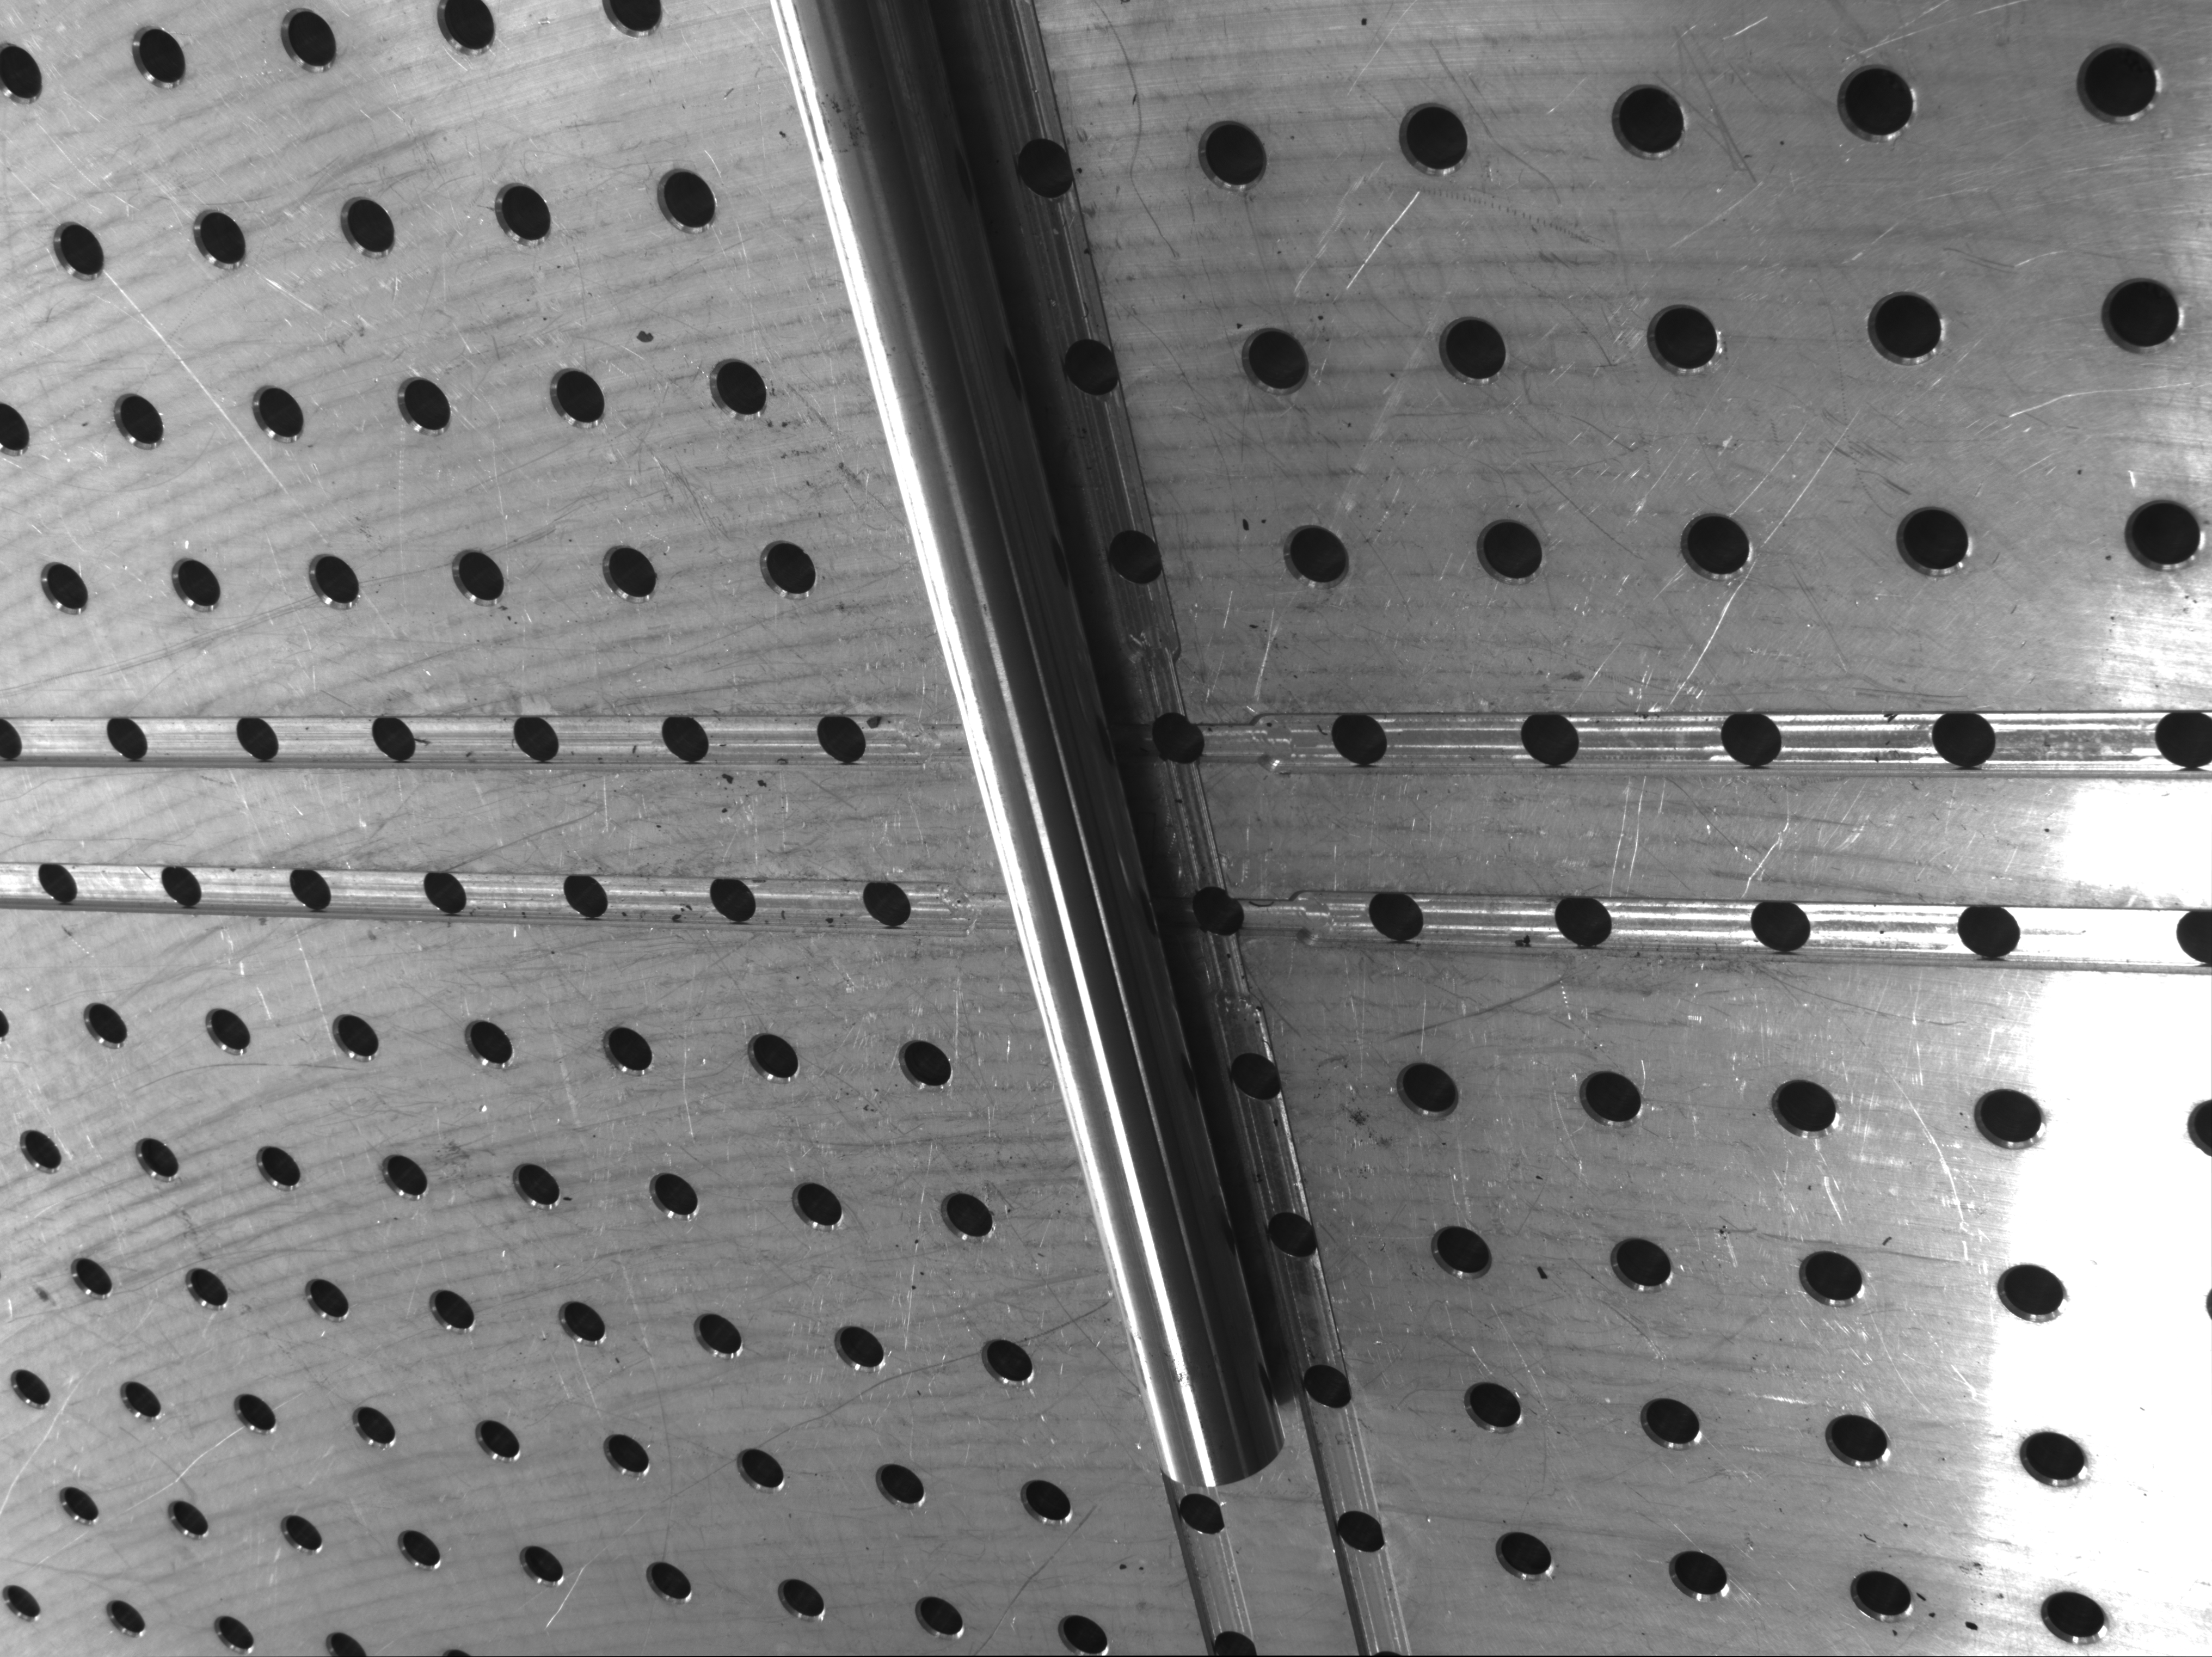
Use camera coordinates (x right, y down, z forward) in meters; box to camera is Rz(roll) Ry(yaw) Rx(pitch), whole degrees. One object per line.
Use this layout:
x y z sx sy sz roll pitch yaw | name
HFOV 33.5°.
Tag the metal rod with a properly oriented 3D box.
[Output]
-0.011 -0.013 0.645 0.025 0.025 0.300 0 119 28 | metal rod
